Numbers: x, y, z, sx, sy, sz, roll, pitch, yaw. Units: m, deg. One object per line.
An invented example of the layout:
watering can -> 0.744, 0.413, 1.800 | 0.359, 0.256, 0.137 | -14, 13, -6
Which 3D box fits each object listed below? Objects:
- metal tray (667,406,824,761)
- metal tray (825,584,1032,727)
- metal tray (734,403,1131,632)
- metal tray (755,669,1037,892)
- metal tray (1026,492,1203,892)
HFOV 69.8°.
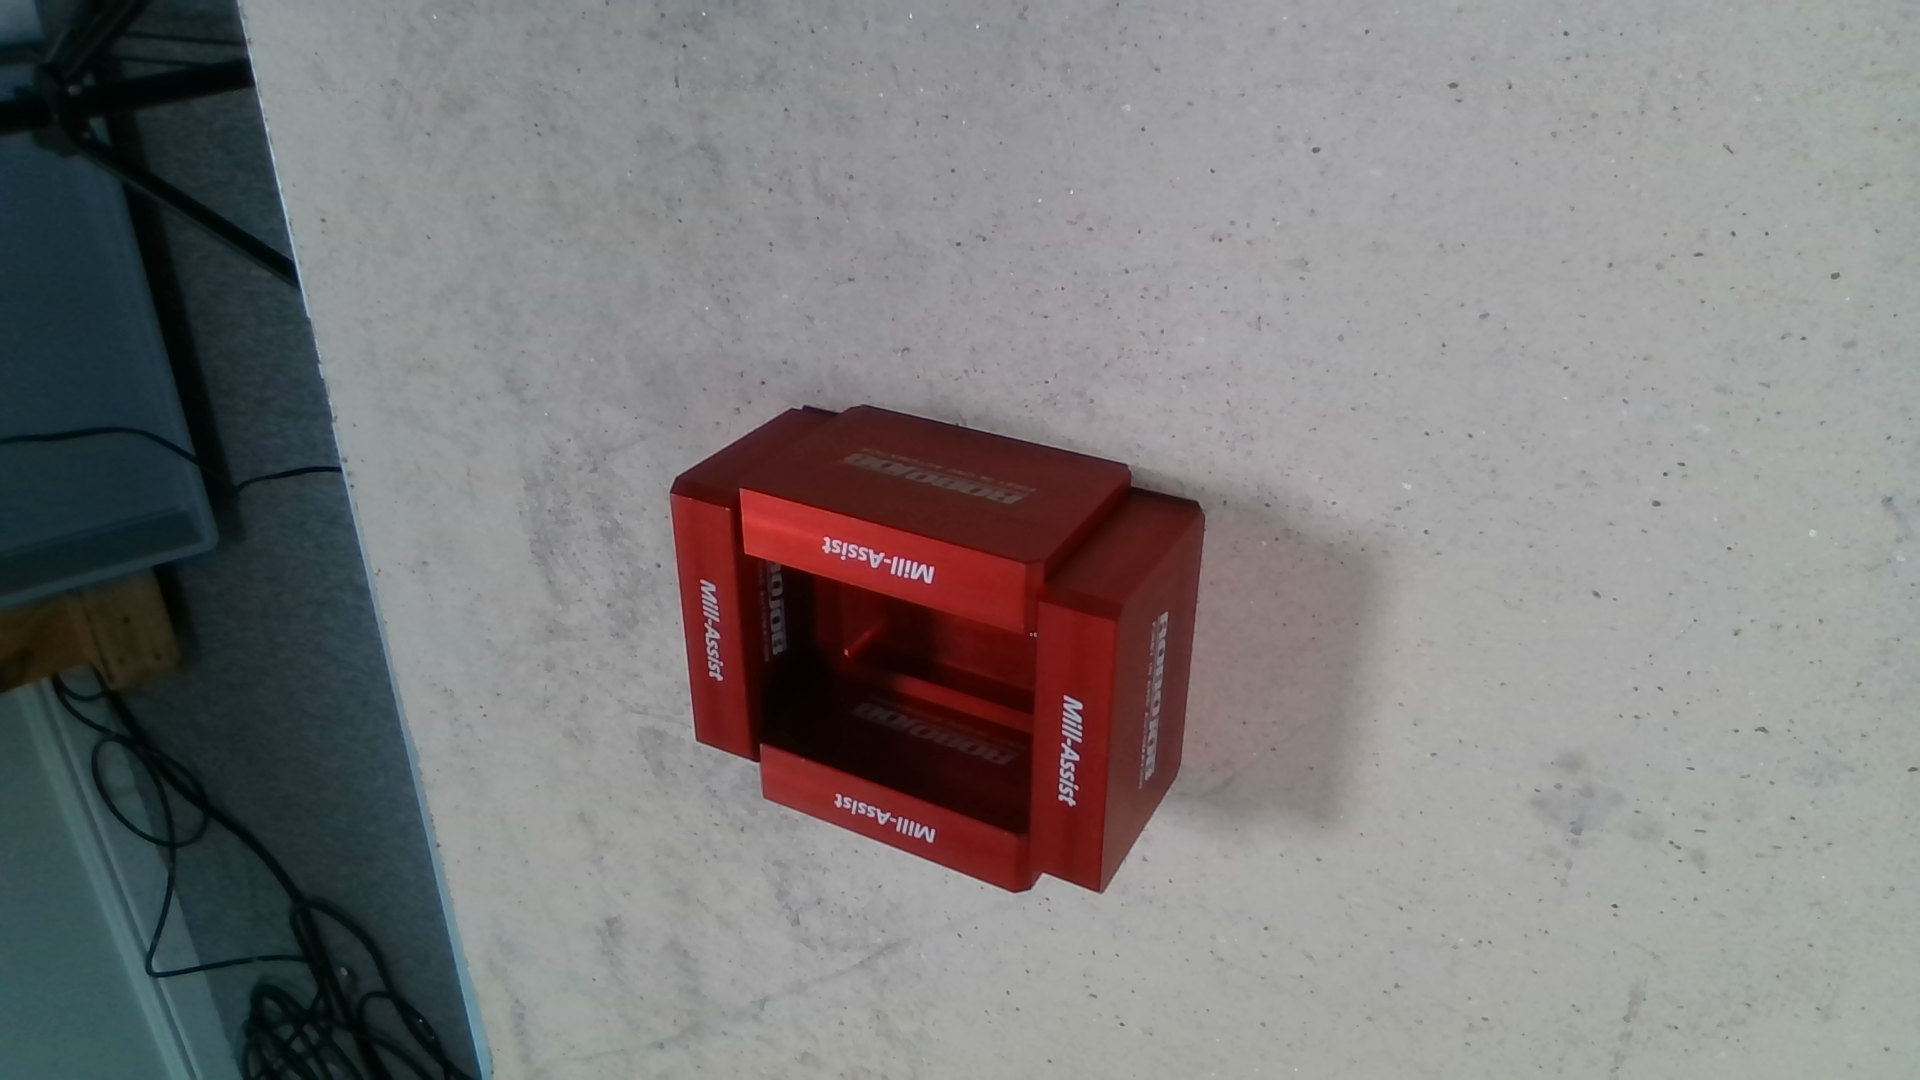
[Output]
metal tray -> -0.081, 0.019, 0.597 | 0.030, 0.090, 0.130 | 15, 122, 24
metal tray -> 0.004, 0.027, 0.589 | 0.130, 0.030, 0.090 | 15, 122, 24
metal tray -> -0.010, -0.013, 0.536 | 0.130, 0.090, 0.030 | 15, 122, 24
metal tray -> -0.011, 0.094, 0.595 | 0.130, 0.090, 0.030 | 15, 122, 24
metal tray -> 0.060, 0.058, 0.532 | 0.030, 0.090, 0.130 | 15, 122, 24
